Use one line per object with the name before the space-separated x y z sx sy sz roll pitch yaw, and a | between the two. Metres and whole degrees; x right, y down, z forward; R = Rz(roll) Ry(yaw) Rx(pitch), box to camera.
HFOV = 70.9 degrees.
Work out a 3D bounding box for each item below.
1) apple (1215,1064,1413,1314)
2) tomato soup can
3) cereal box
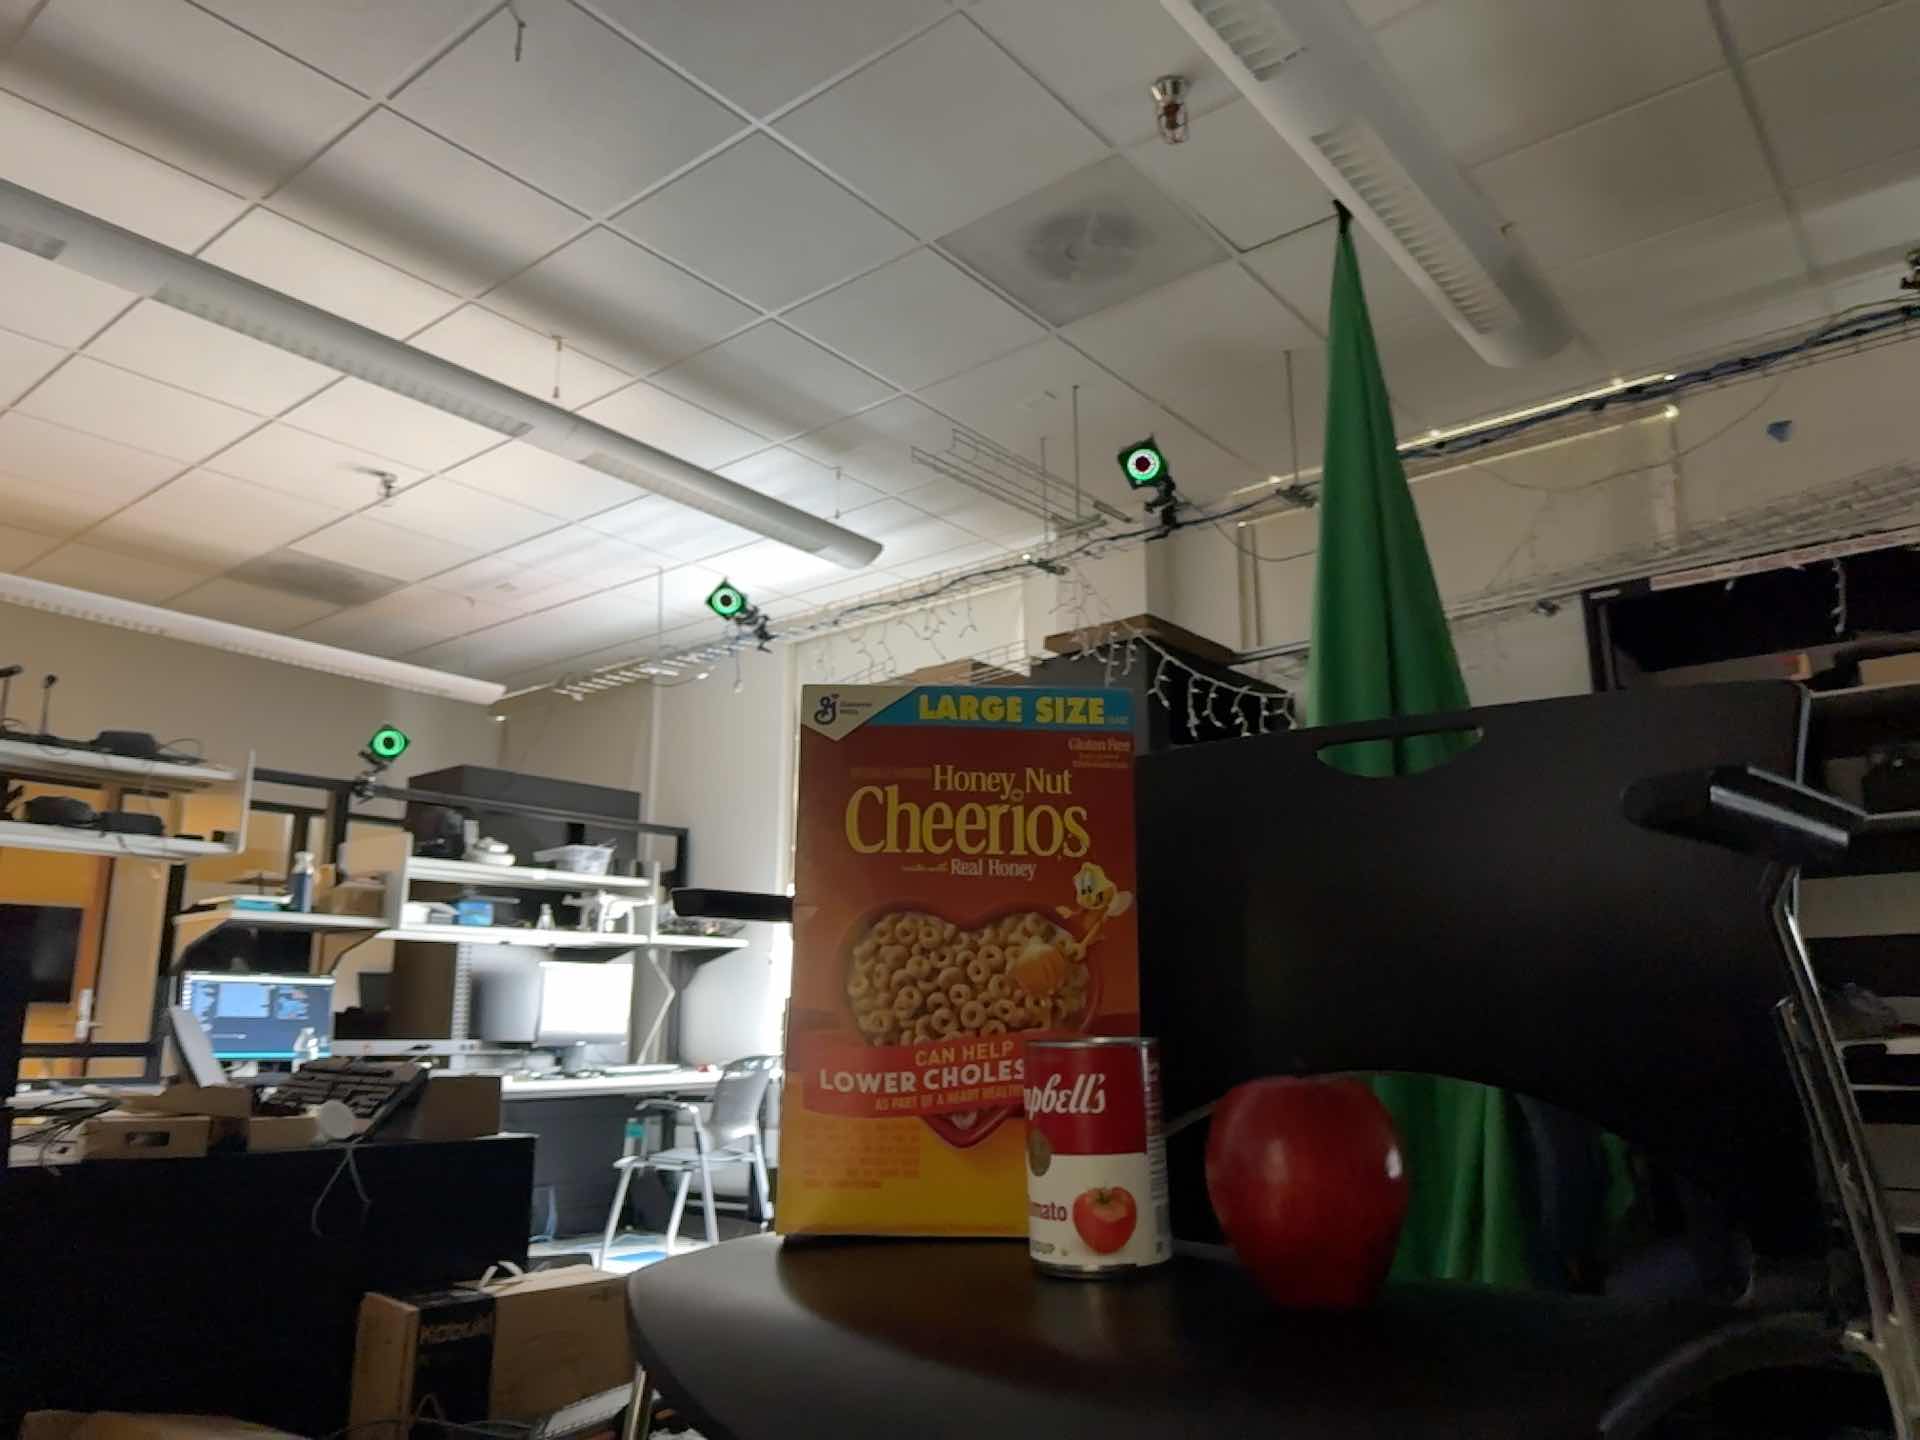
apple | 0.141 0.185 0.542 0.079 0.093 0.079 -4 -8 -1
tomato soup can | 0.065 0.203 0.647 0.067 0.102 0.067 0 -10 0
cereal box | 0.001 0.130 0.783 0.195 0.297 0.065 2 -12 0
